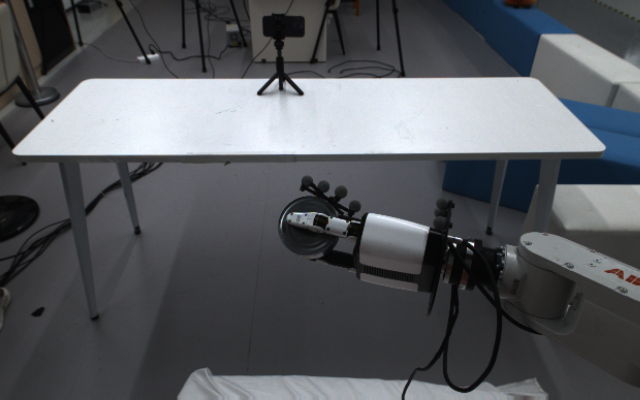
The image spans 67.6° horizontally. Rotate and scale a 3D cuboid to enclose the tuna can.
[{"bbox_3d":[-0.013,0.039,0.683,0.085,0.034,0.085,-2,71,6],"label":"tuna can"}]
